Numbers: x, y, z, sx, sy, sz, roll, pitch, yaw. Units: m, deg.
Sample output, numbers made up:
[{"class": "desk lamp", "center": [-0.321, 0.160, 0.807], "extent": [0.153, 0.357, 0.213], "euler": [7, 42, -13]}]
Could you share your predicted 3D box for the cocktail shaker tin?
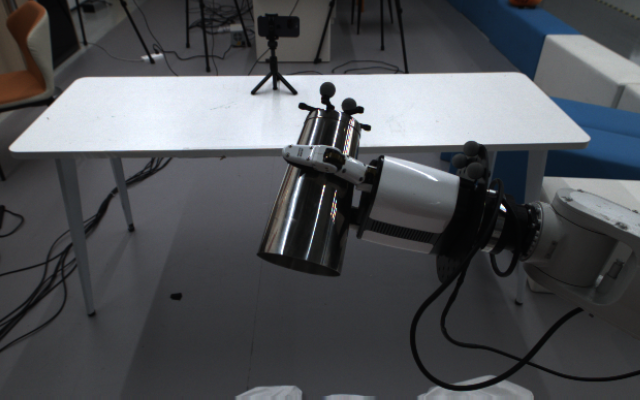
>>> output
[{"class": "cocktail shaker tin", "center": [-0.003, -0.009, 0.535], "extent": [0.093, 0.093, 0.170], "euler": [11, 73, 12]}]
